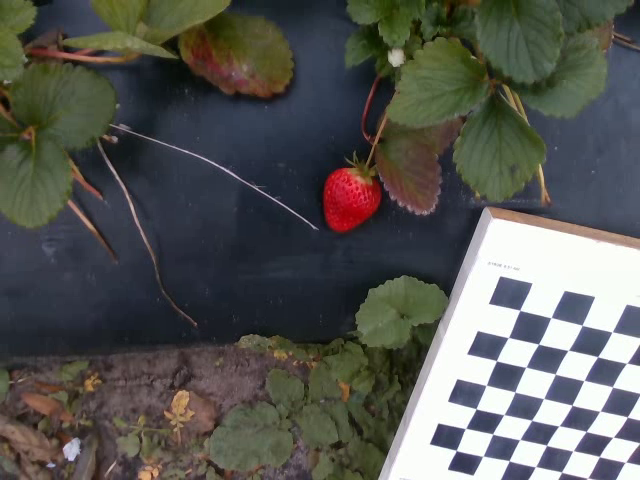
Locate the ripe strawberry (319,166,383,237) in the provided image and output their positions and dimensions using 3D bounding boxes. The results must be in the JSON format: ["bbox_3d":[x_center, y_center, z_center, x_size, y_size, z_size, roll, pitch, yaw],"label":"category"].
[{"bbox_3d":[0.011,-0.017,0.264,0.029,0.033,0.022,28,22,-6],"label":"ripe strawberry"}]
